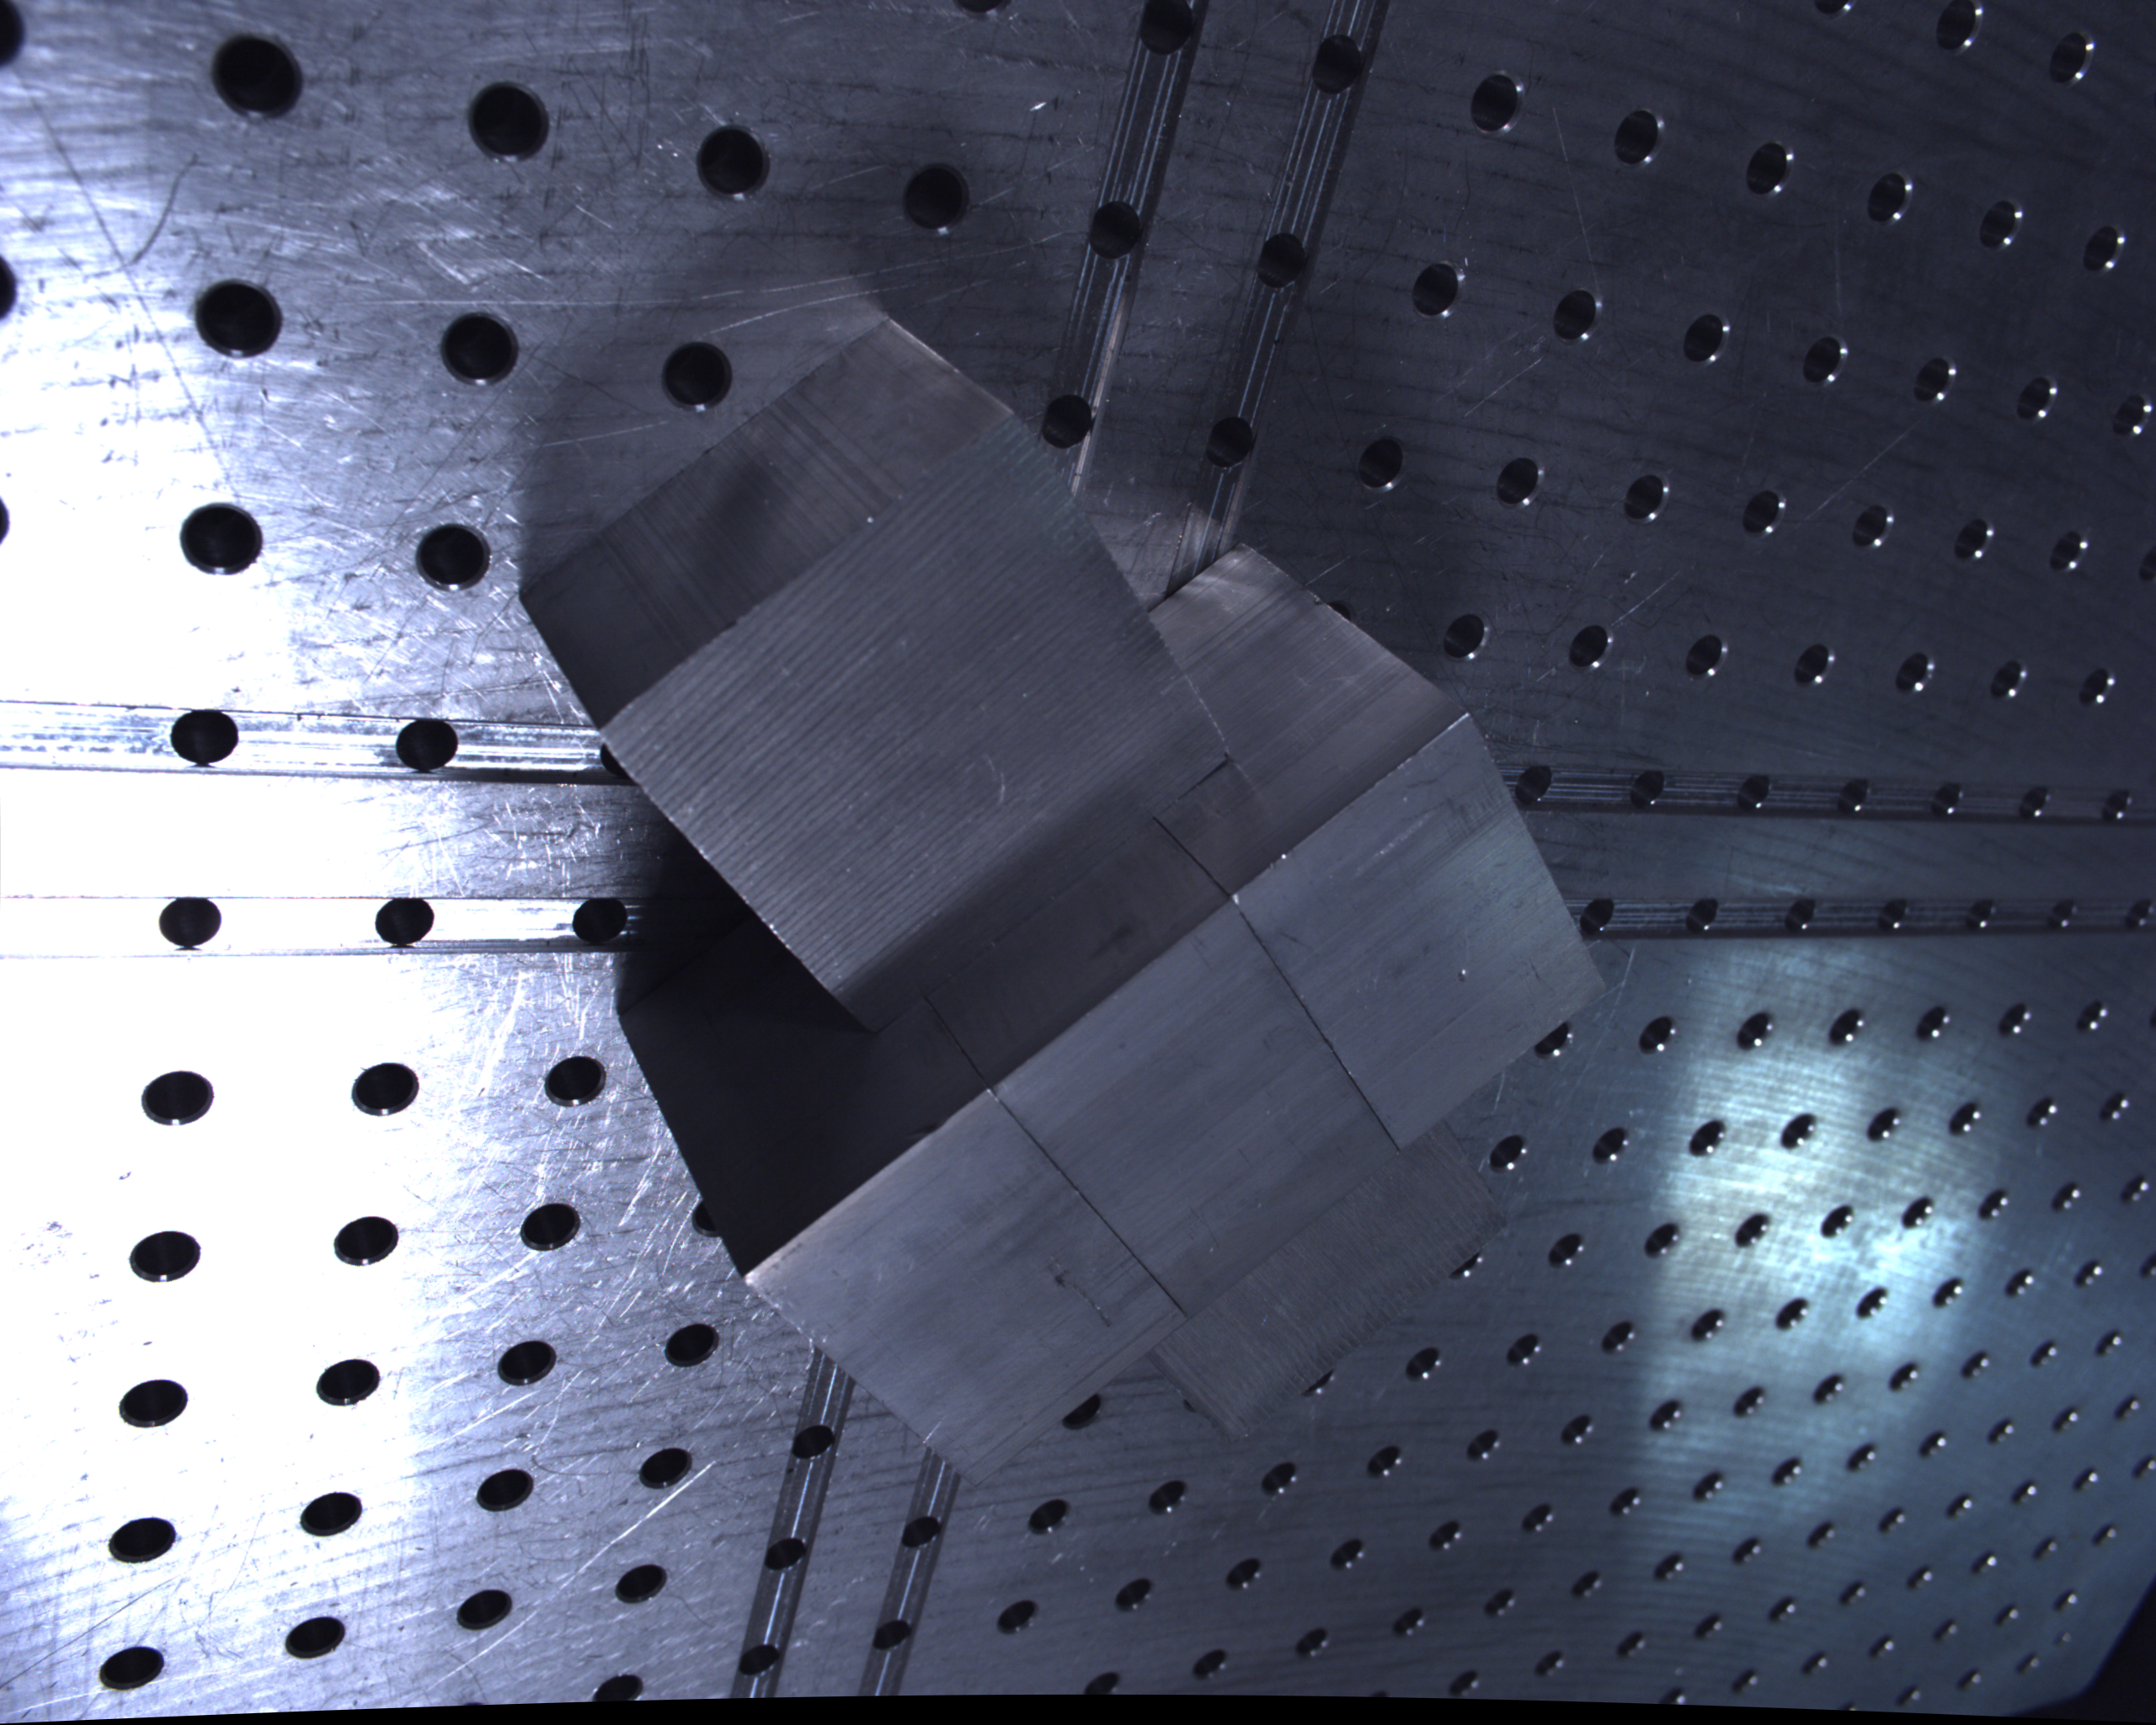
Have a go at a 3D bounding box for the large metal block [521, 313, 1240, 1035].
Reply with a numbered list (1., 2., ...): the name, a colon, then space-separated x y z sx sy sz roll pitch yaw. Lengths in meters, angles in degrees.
1. large metal block: -0.032 -0.031 0.356 0.080 0.050 0.080 -38 130 -2

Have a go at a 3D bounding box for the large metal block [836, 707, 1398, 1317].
1. large metal block: 0.006 0.026 0.397 0.050 0.080 0.080 -38 130 -3

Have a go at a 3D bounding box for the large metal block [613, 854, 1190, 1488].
1. large metal block: -0.034 0.057 0.394 0.050 0.080 0.080 -38 130 -3

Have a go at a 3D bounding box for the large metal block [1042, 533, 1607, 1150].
1. large metal block: 0.046 -0.005 0.400 0.050 0.080 0.080 -38 130 -3

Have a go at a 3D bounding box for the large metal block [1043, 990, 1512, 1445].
1. large metal block: 0.037 0.068 0.460 0.080 0.050 0.080 -37 130 -3
